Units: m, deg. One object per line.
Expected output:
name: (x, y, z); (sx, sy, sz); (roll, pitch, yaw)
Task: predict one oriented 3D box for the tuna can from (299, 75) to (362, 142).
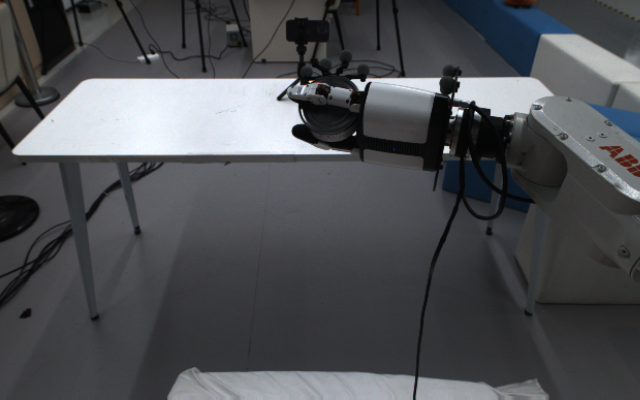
tuna can: (0.016, -0.124, 0.658); (0.085, 0.034, 0.085); (-3, 73, 10)
